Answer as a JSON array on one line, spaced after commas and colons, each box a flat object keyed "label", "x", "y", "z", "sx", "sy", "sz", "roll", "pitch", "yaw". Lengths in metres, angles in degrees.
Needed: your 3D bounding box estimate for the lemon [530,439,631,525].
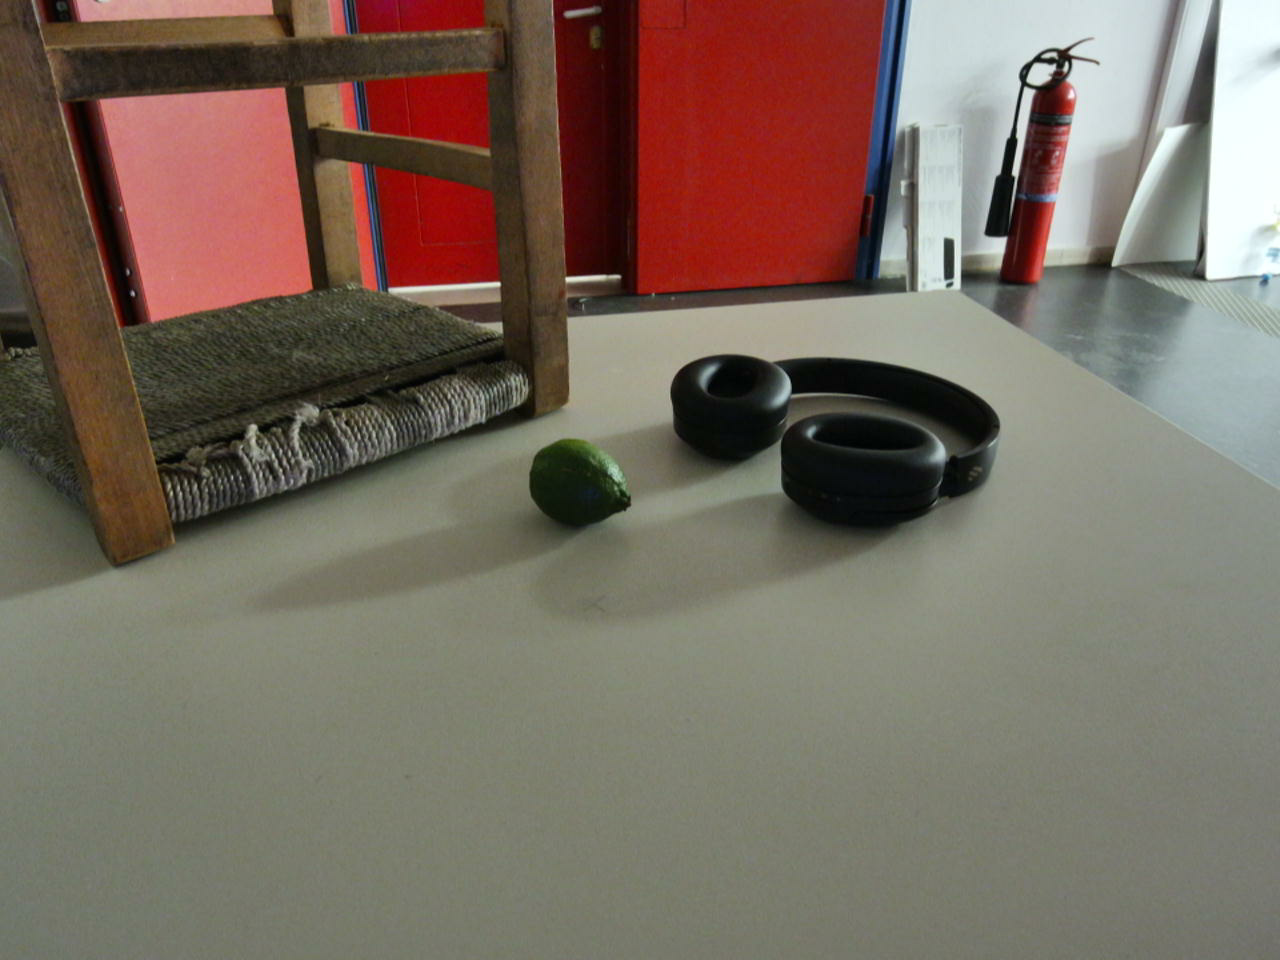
[{"label": "lemon", "x": -0.038, "y": 0.000, "z": 0.599, "sx": 0.057, "sy": 0.051, "sz": 0.054, "roll": -8, "pitch": 27, "yaw": -15}]
